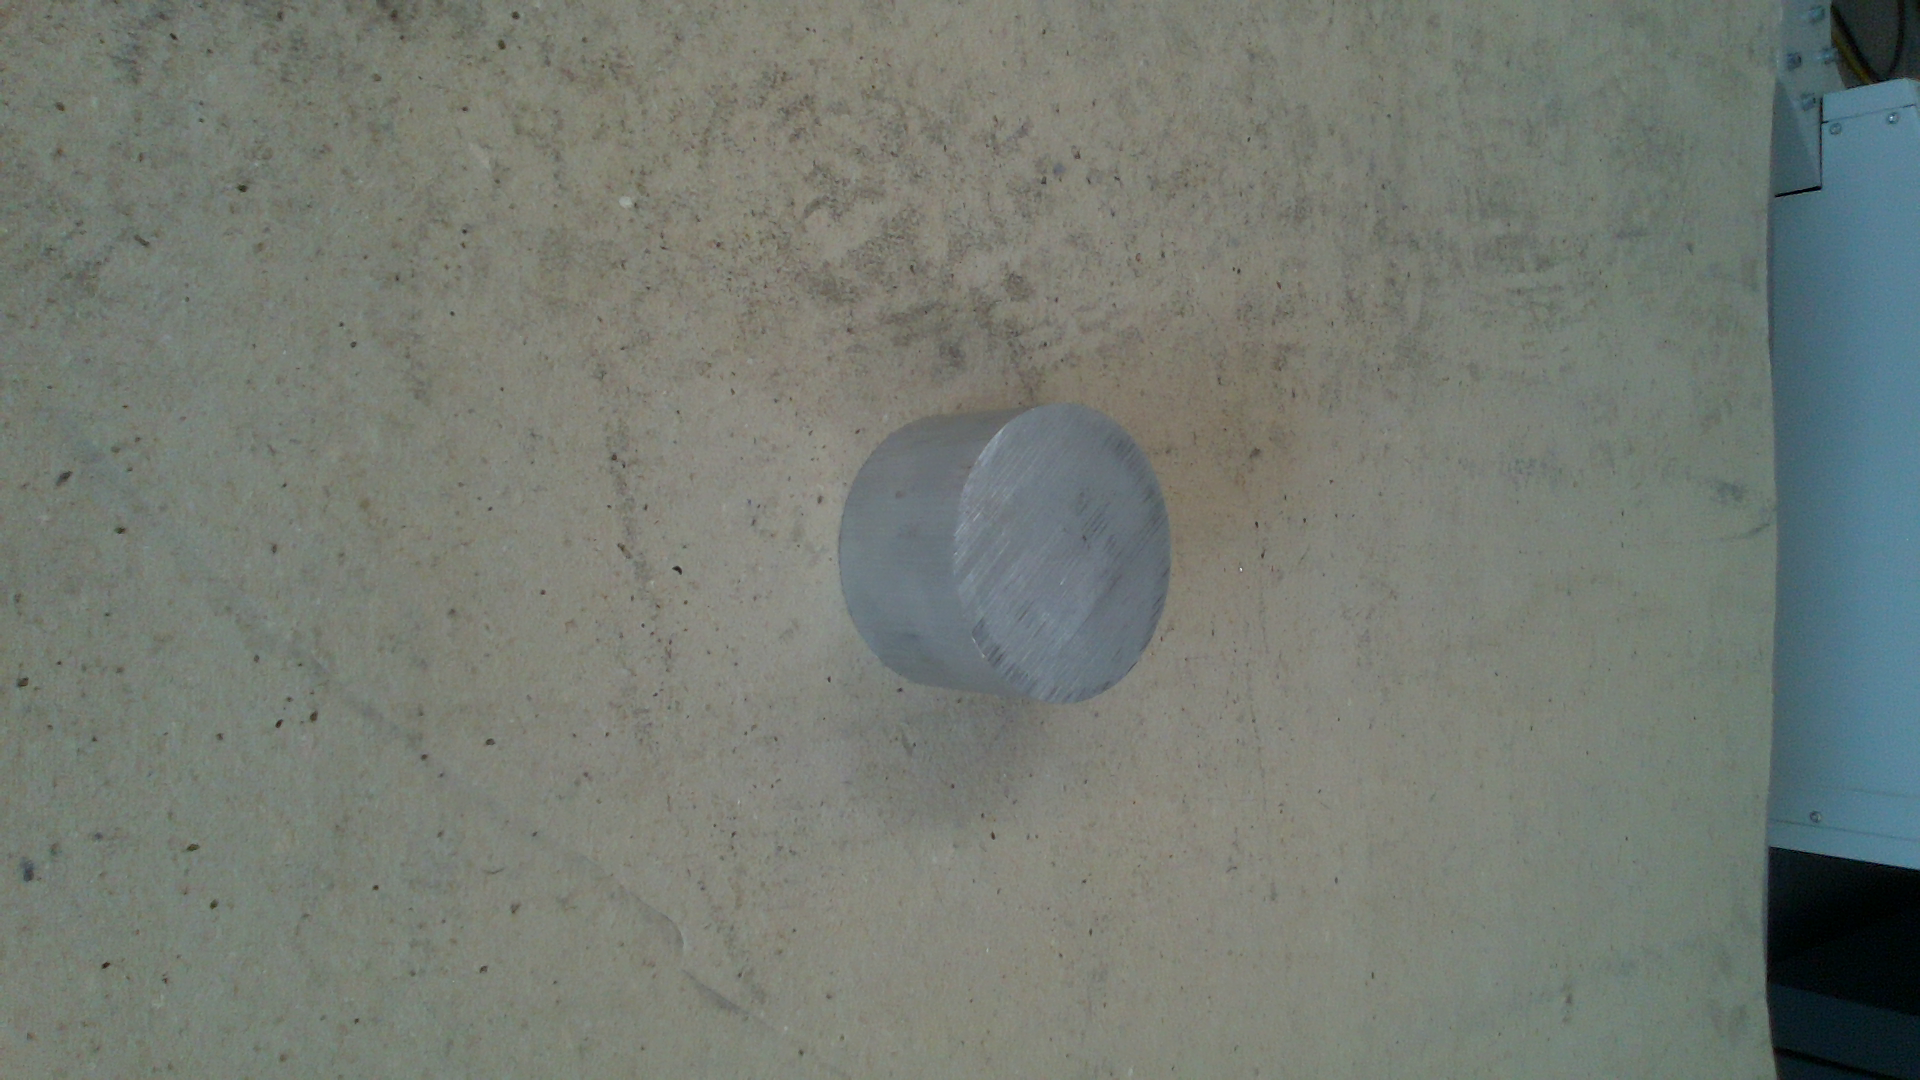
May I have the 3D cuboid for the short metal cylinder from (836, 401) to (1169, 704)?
[{"bbox_3d":[0.013,0.003,0.383,0.080,0.050,0.080,0,90,-41],"label":"short metal cylinder"}]
